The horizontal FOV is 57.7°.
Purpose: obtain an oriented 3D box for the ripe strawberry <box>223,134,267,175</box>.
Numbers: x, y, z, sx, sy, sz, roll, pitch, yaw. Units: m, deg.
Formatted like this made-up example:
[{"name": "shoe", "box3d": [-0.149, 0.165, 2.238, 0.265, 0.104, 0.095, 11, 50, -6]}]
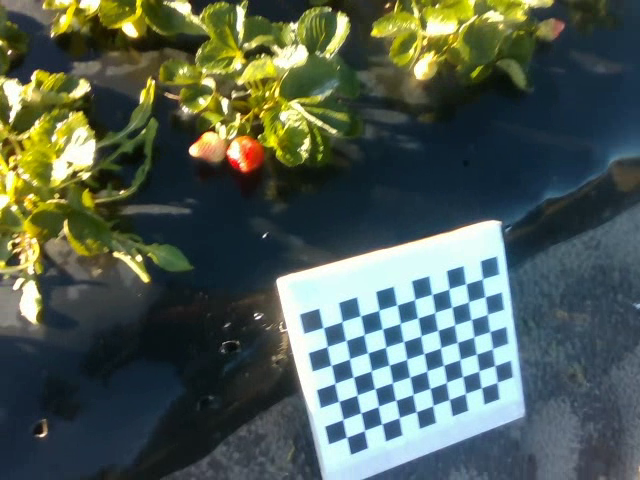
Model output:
[{"name": "ripe strawberry", "box3d": [-0.075, -0.084, 0.579, 0.040, 0.038, 0.056, -25, 19, 14]}]
